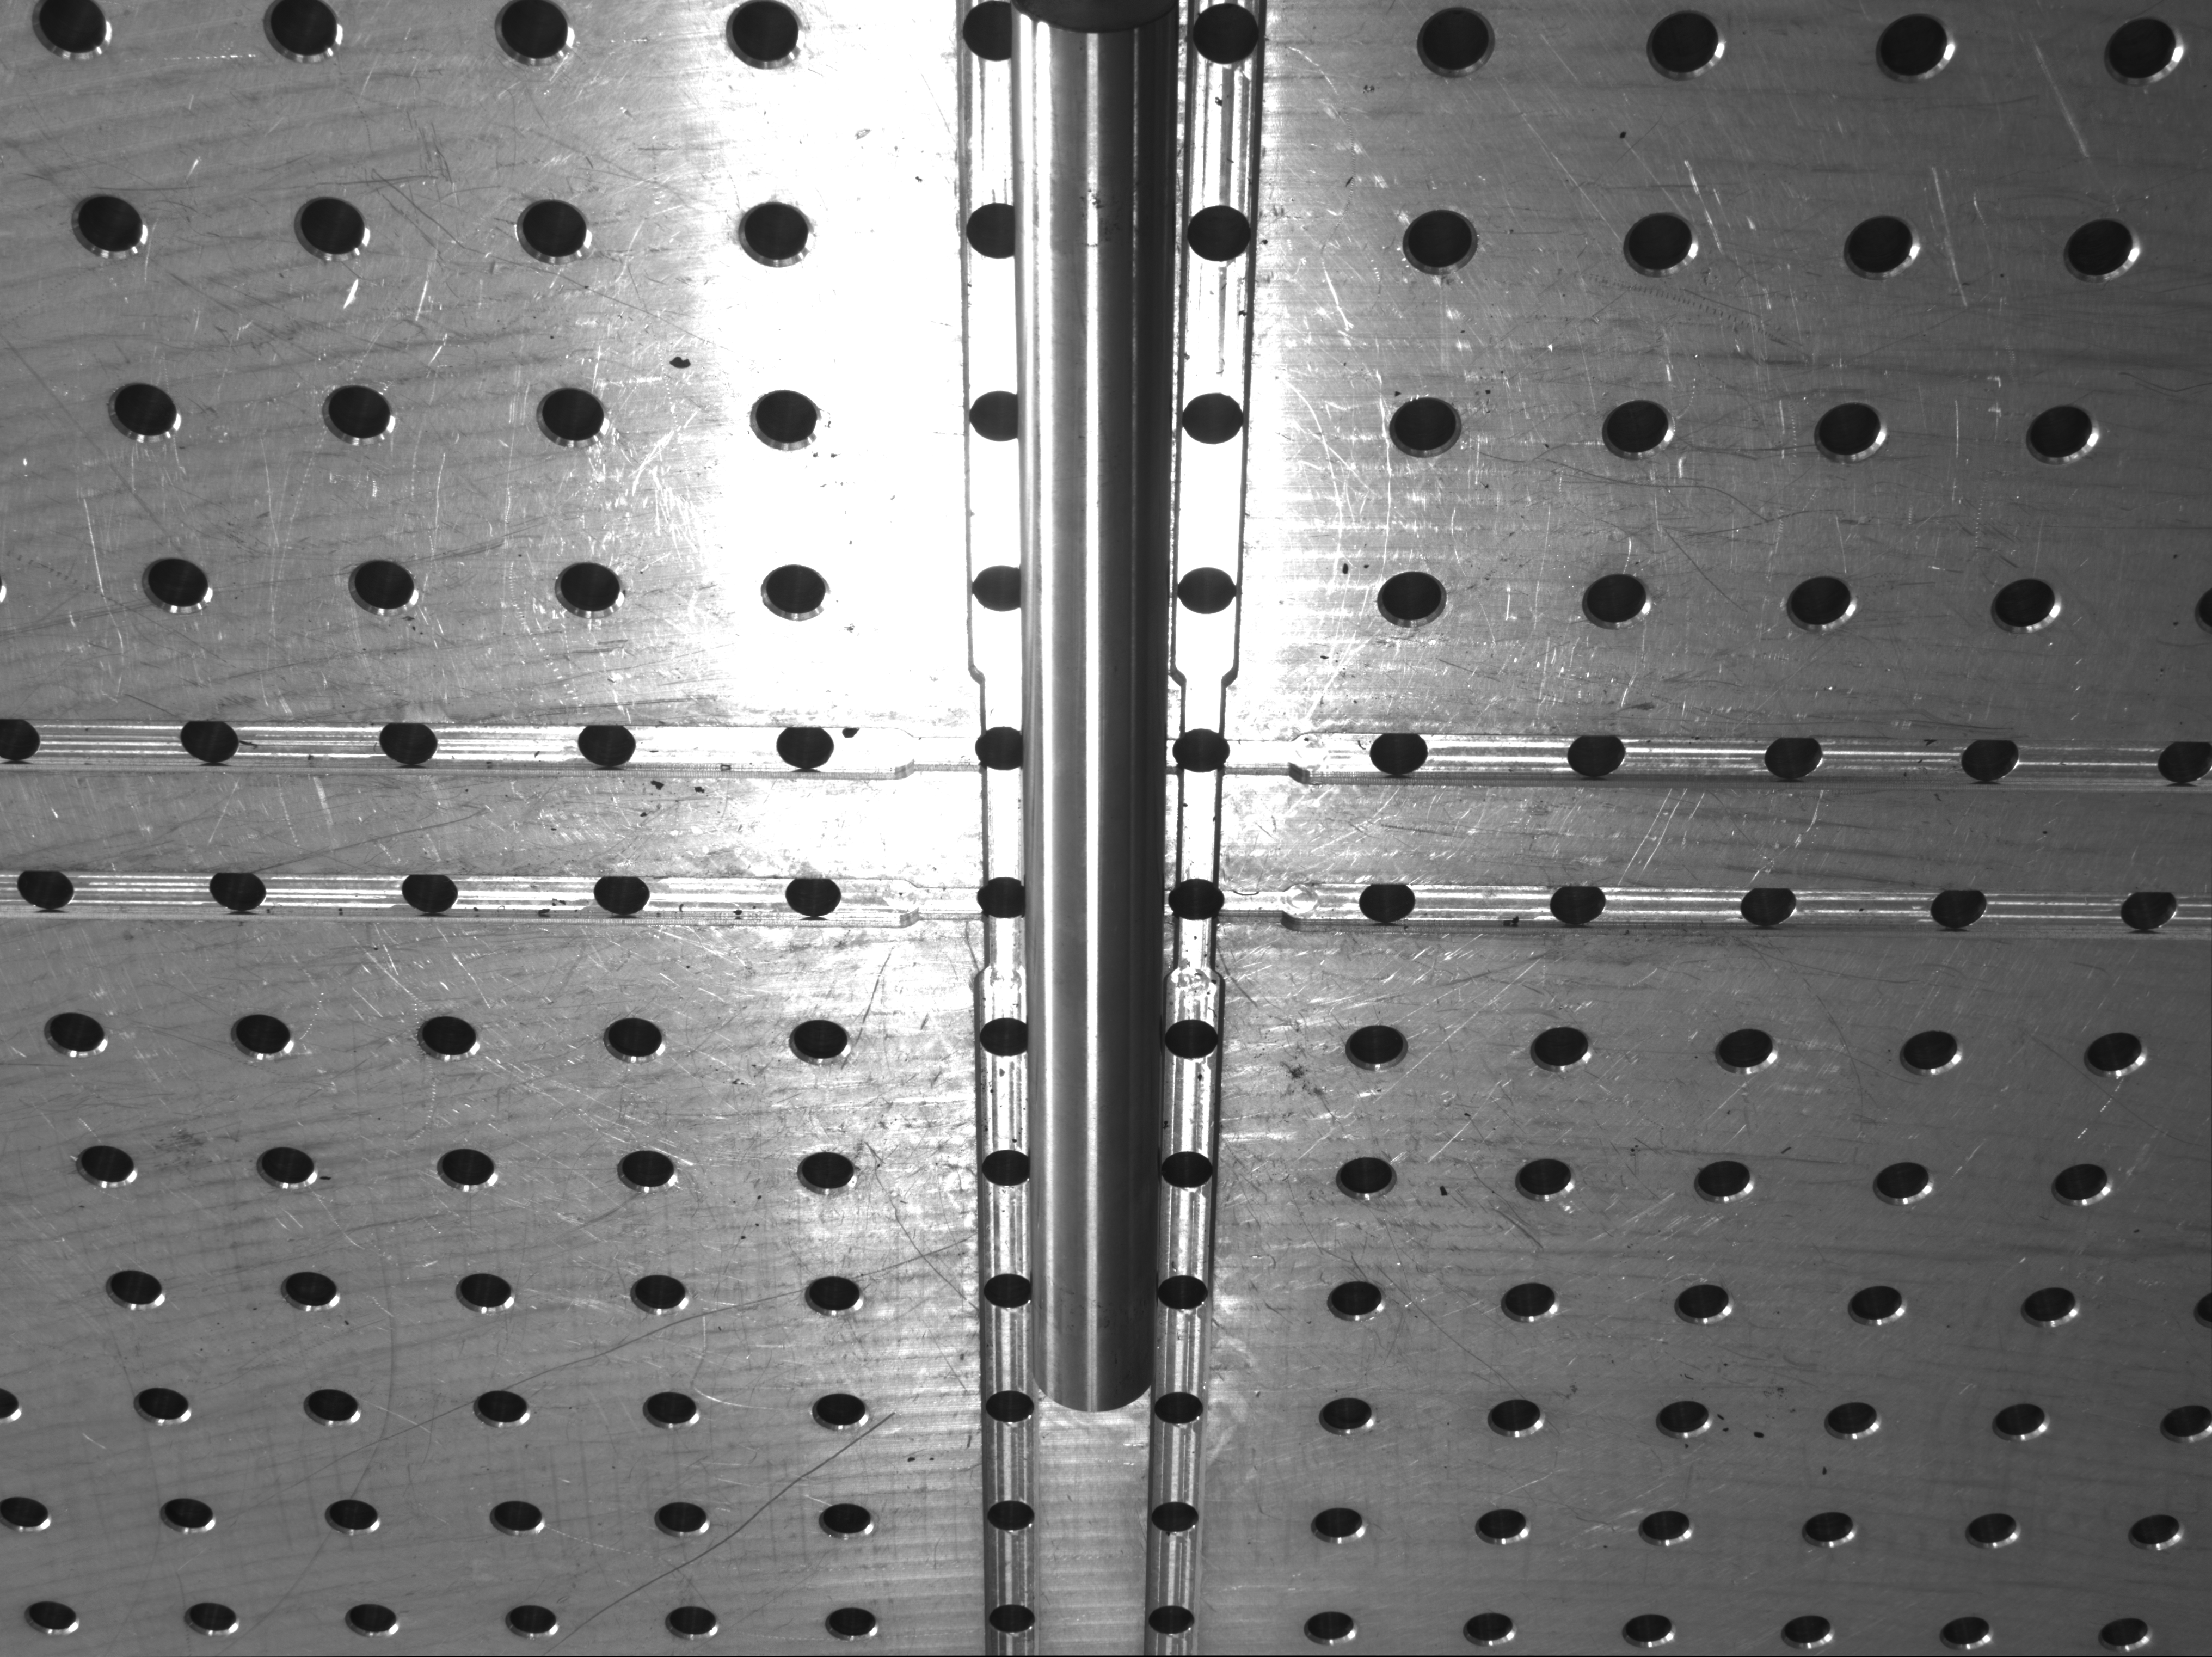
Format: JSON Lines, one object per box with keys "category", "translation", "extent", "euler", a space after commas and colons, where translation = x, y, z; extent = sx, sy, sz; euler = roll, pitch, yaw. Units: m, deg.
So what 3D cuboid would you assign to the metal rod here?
{"category": "metal rod", "translation": [-0.003, -0.008, 0.637], "extent": [0.025, 0.025, 0.300], "euler": [0, 130, 0]}
